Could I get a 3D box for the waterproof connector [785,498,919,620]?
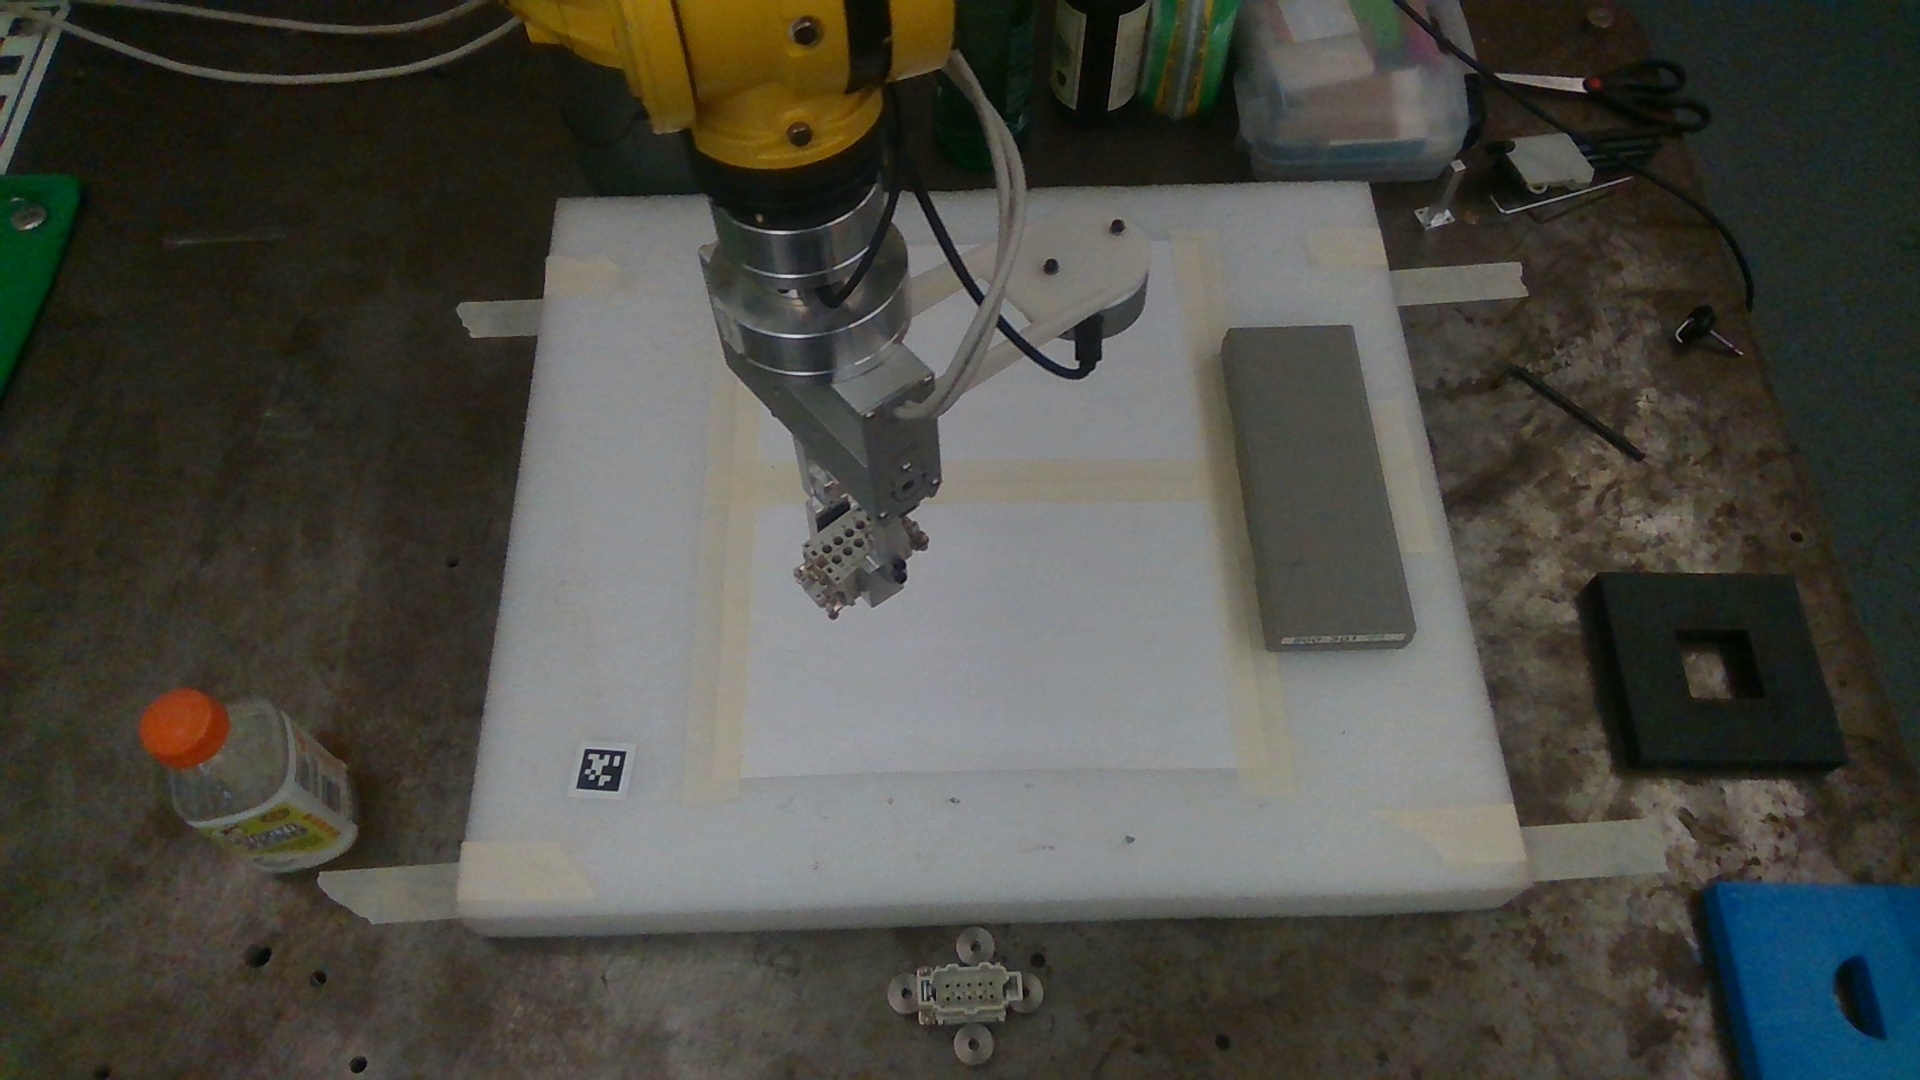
[{"bbox_3d":[-0.055,0.011,0.716,0.069,0.038,0.037,-37,63,-9],"label":"waterproof connector"}]
